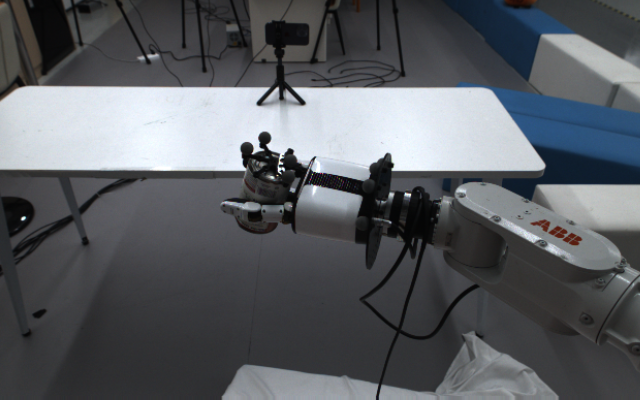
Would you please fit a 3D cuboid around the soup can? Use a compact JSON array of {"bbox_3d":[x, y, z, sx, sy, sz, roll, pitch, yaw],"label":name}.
[{"bbox_3d":[-0.079,-0.009,0.684,0.067,0.101,0.067,14,40,-12],"label":"soup can"}]
